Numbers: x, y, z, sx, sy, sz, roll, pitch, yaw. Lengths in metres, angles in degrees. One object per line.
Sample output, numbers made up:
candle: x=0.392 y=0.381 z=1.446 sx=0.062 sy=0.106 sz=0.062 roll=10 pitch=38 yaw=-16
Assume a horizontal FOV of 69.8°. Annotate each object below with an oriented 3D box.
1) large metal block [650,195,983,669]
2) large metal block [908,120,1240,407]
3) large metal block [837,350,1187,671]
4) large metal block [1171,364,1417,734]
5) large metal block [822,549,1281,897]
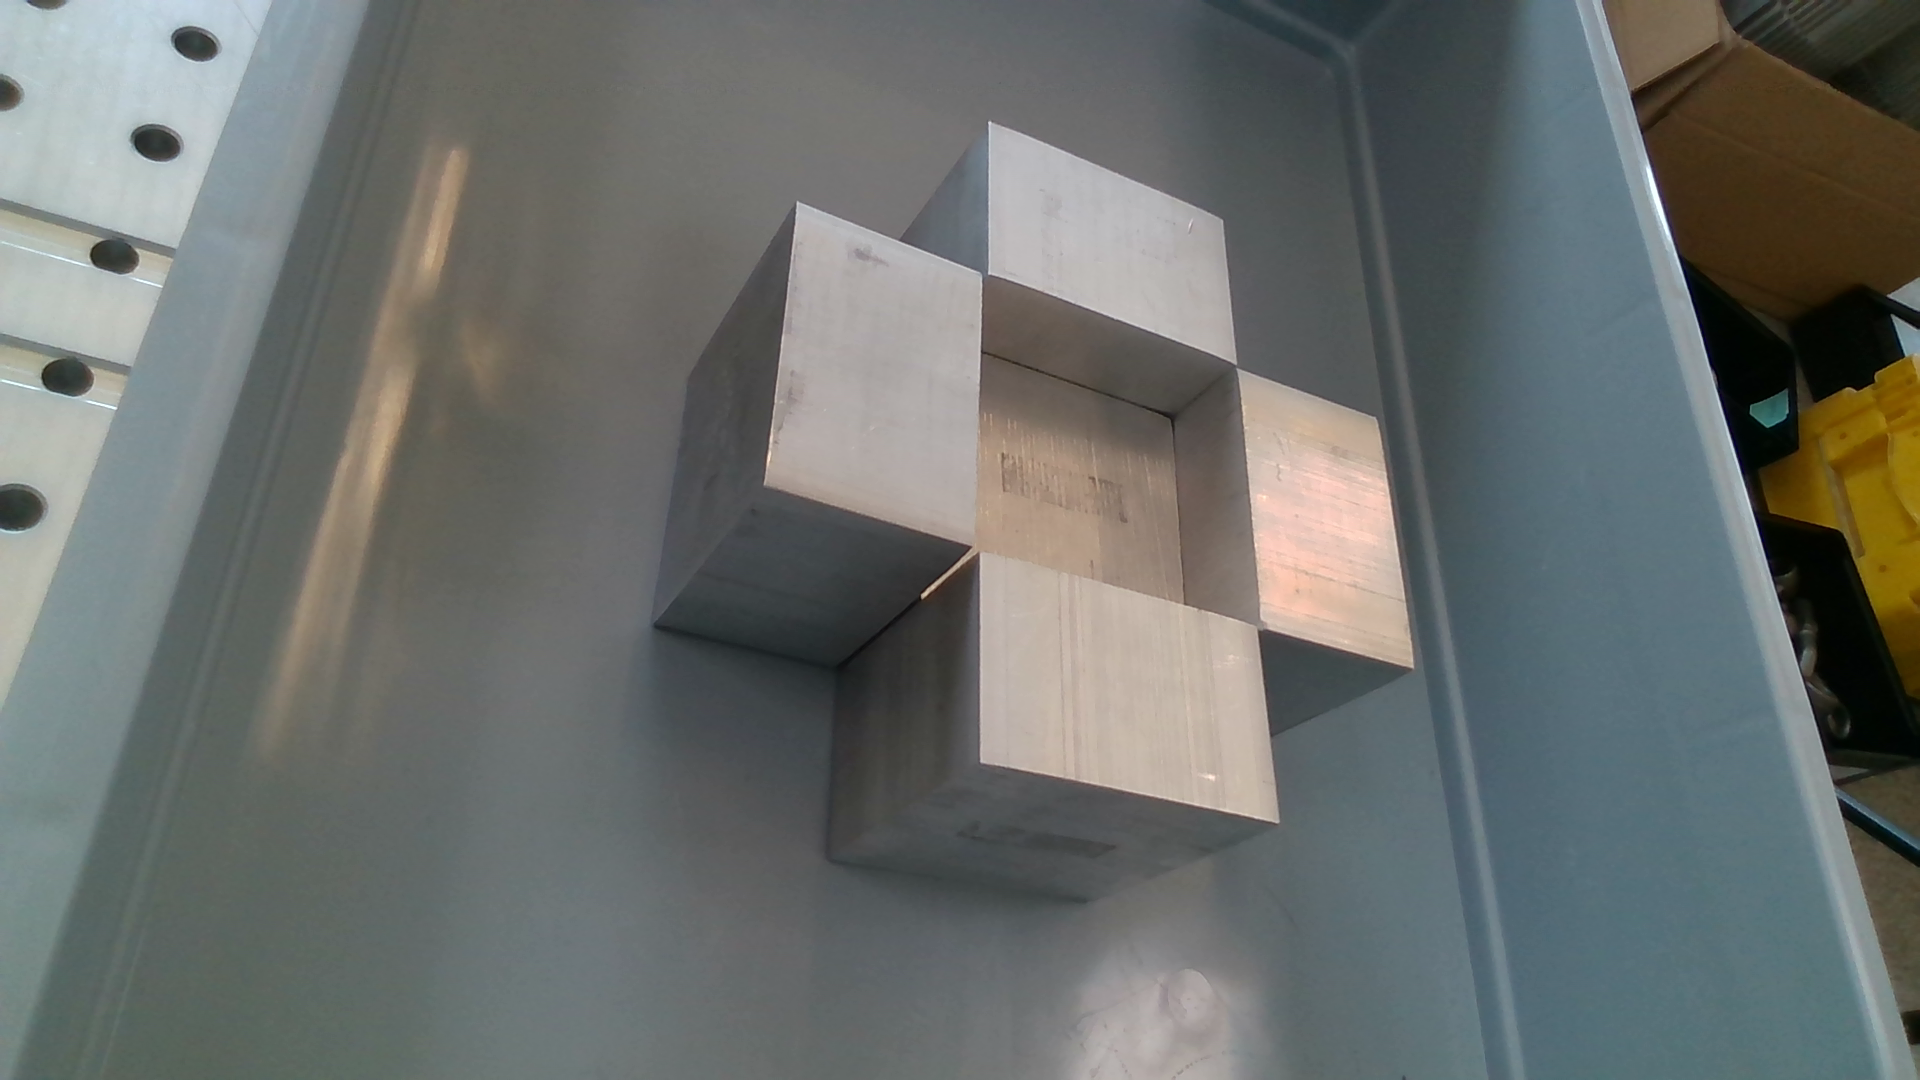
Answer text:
large metal block: x=-0.036 y=-0.023 z=0.346 sx=0.050 sy=0.080 sz=0.080 roll=16 pitch=58 yaw=-24
large metal block: x=0.023 y=-0.065 z=0.407 sx=0.080 sy=0.080 sz=0.050 roll=15 pitch=58 yaw=-24
large metal block: x=0.015 y=-0.001 z=0.384 sx=0.080 sy=0.050 sz=0.080 roll=15 pitch=58 yaw=-25
large metal block: x=0.079 y=0.009 z=0.400 sx=0.050 sy=0.080 sz=0.080 roll=15 pitch=58 yaw=-24
large metal block: x=0.020 y=0.050 z=0.343 sx=0.080 sy=0.080 sz=0.050 roll=15 pitch=58 yaw=-24
